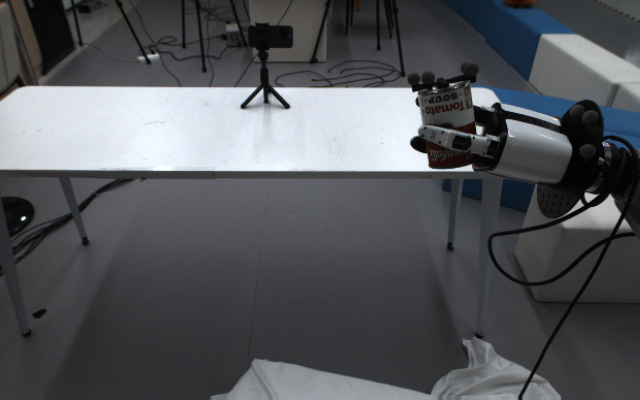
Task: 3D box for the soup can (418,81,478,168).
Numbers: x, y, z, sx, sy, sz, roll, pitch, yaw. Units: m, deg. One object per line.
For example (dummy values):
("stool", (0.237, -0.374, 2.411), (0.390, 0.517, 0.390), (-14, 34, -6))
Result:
("soup can", (0.170, -0.099, 0.638), (0.067, 0.101, 0.067), (-12, 17, 4))
